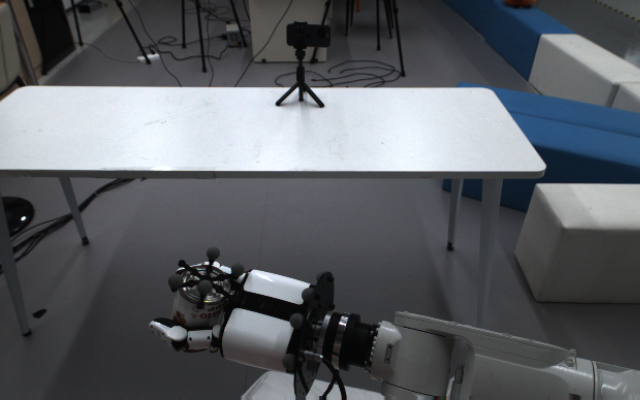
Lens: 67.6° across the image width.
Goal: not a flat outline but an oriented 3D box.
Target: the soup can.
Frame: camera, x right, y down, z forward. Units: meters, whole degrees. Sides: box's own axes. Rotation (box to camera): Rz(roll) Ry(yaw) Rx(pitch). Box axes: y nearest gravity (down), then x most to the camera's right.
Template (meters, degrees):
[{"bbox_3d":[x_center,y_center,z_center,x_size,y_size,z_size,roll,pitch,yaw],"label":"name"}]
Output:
[{"bbox_3d":[-0.159,0.144,0.636,0.067,0.101,0.067,14,36,-10],"label":"soup can"}]
